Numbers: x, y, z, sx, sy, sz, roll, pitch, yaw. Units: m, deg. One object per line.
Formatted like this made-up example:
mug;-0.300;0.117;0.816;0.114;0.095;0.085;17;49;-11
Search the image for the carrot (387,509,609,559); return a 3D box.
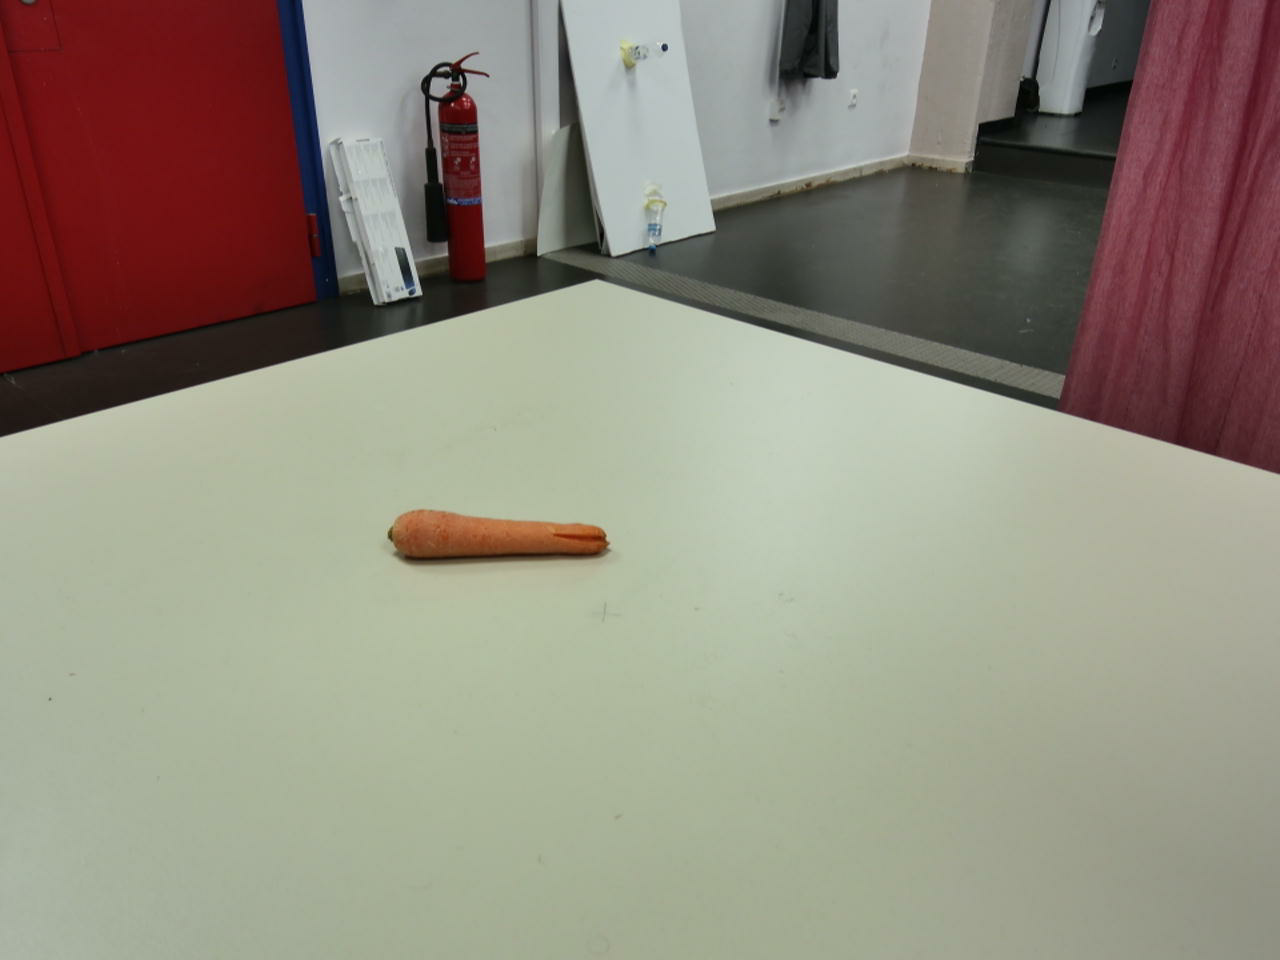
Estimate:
carrot;-0.088;0.033;0.622;0.136;0.032;0.030;0;25;-2
